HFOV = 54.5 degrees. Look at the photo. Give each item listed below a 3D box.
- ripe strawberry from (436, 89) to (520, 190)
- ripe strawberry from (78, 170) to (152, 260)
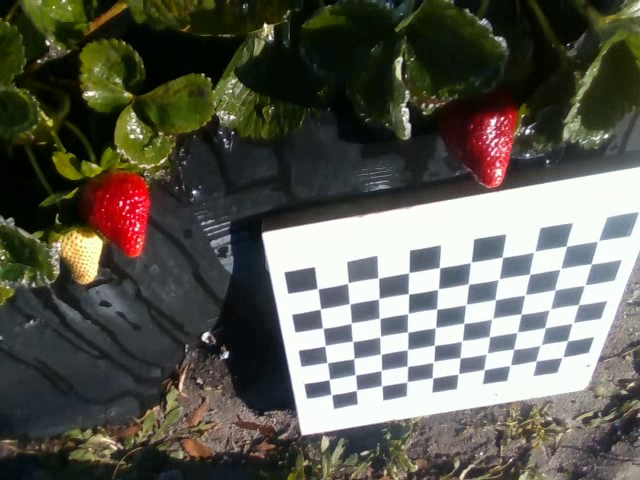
[{"bbox_3d":[0.102,-0.055,0.390,0.049,0.061,0.044,-14,10,3],"label":"ripe strawberry"},{"bbox_3d":[-0.123,-0.014,0.396,0.043,0.061,0.046,-19,0,8],"label":"ripe strawberry"}]
